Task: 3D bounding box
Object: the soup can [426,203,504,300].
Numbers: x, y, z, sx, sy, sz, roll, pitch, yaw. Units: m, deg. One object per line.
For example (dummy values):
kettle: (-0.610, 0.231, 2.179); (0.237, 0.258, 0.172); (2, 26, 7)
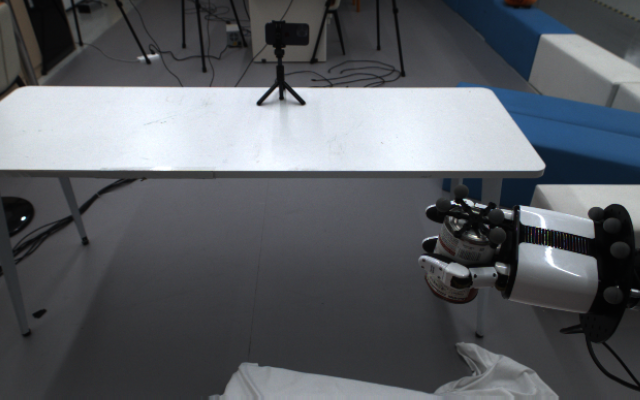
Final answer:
soup can: (0.174, 0.066, 0.589); (0.067, 0.101, 0.067); (5, 36, -4)
